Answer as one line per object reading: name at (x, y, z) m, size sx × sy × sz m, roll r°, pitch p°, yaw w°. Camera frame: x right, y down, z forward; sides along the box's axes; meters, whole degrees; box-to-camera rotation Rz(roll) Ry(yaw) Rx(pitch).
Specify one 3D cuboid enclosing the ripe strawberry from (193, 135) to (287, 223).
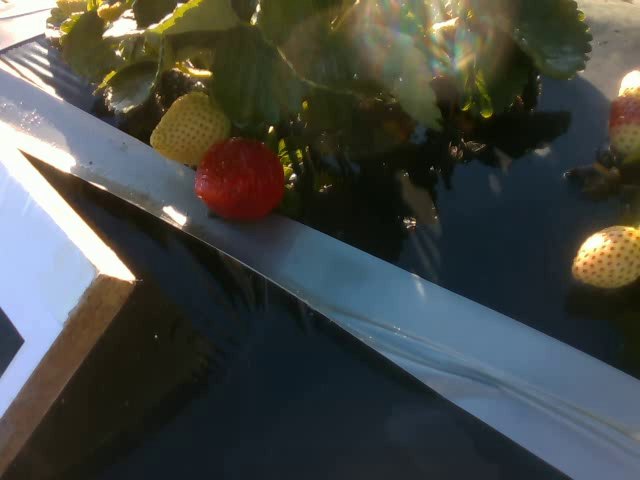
ripe strawberry at (-0.041, -0.027, 0.279) m, size 0.045 × 0.049 × 0.063 m, roll -33°, pitch 3°, yaw 19°
